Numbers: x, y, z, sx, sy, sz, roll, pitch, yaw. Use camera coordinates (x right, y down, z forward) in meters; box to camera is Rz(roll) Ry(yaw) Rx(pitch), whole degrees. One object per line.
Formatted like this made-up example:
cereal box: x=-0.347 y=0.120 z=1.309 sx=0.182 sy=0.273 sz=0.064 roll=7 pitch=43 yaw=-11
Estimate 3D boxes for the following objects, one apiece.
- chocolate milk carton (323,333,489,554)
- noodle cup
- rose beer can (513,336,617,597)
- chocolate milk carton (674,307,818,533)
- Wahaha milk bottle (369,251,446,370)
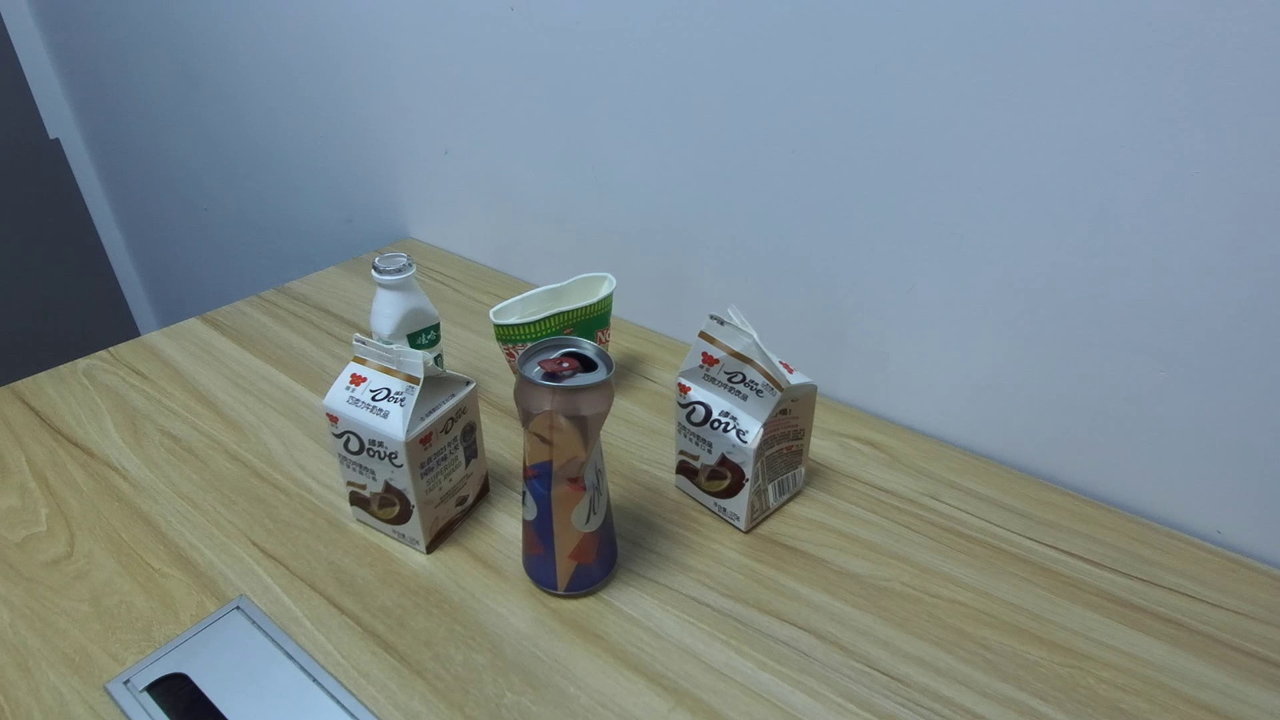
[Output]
chocolate milk carton: x=-0.161 y=0.049 z=0.491 sx=0.075 sy=0.148 sz=0.074 roll=18 pitch=38 yaw=23
noodle cup: x=-0.071 y=-0.010 z=0.624 sx=0.115 sy=0.111 sz=0.070 roll=-10 pitch=35 yaw=-14
rose beer can: x=-0.044 y=0.072 z=0.447 sx=0.065 sy=0.167 sz=0.076 roll=10 pitch=29 yaw=12
chocolate milk carton: x=0.076 y=0.037 z=0.508 sx=0.074 sy=0.156 sz=0.076 roll=-28 pitch=43 yaw=-35
Wahaha milk bottle: x=-0.197 y=-0.019 z=0.598 sx=0.056 sy=0.148 sz=0.056 roll=3 pitch=36 yaw=-2
